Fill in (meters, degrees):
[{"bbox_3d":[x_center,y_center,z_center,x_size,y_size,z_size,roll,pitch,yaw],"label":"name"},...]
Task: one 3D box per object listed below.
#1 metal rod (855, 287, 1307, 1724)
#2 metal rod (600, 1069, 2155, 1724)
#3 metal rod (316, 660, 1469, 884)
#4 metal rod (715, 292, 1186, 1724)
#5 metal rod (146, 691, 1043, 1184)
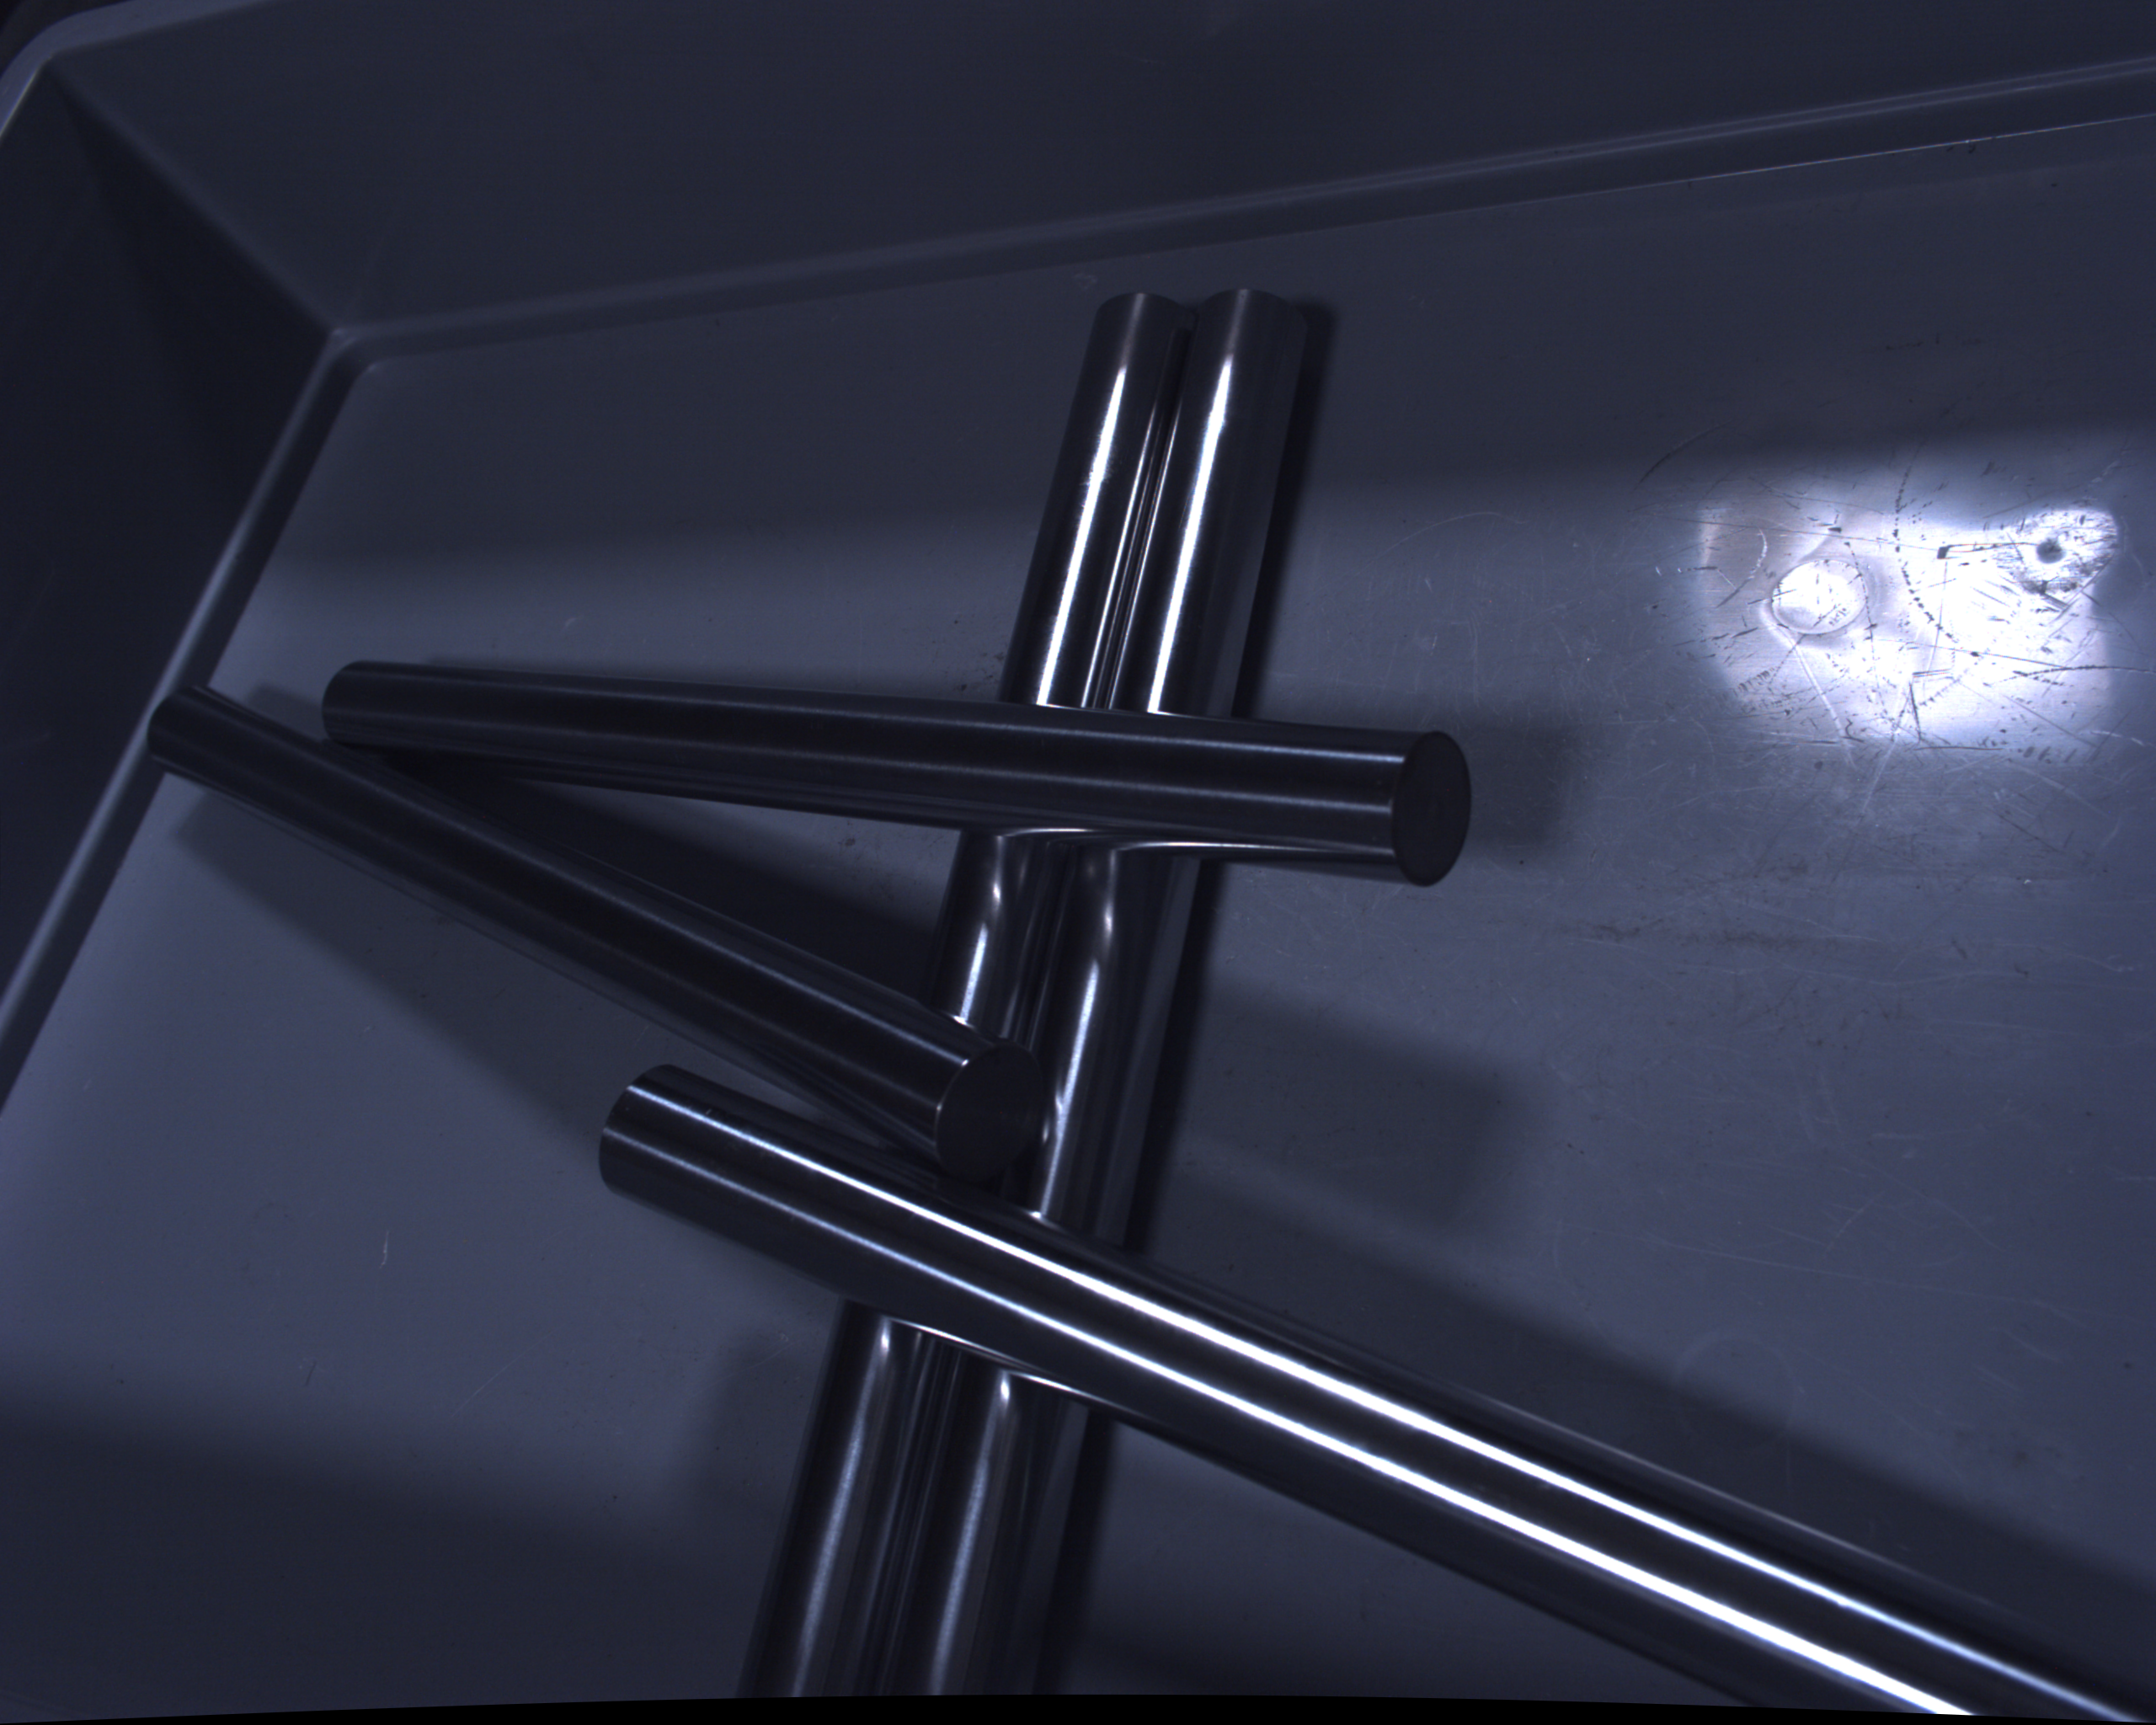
[{"bbox_3d":[0.006,0.015,0.388,0.025,0.025,0.300,-1,61,27],"label":"metal rod"},{"bbox_3d":[0.051,0.087,0.301,0.300,0.025,0.025,17,70,28],"label":"metal rod"},{"bbox_3d":[-0.061,-0.023,0.423,0.300,0.025,0.025,7,65,38],"label":"metal rod"},{"bbox_3d":[-0.016,0.013,0.401,0.025,0.025,0.300,-1,61,27],"label":"metal rod"},{"bbox_3d":[-0.123,0.005,0.447,0.300,0.025,0.025,19,72,40],"label":"metal rod"}]
